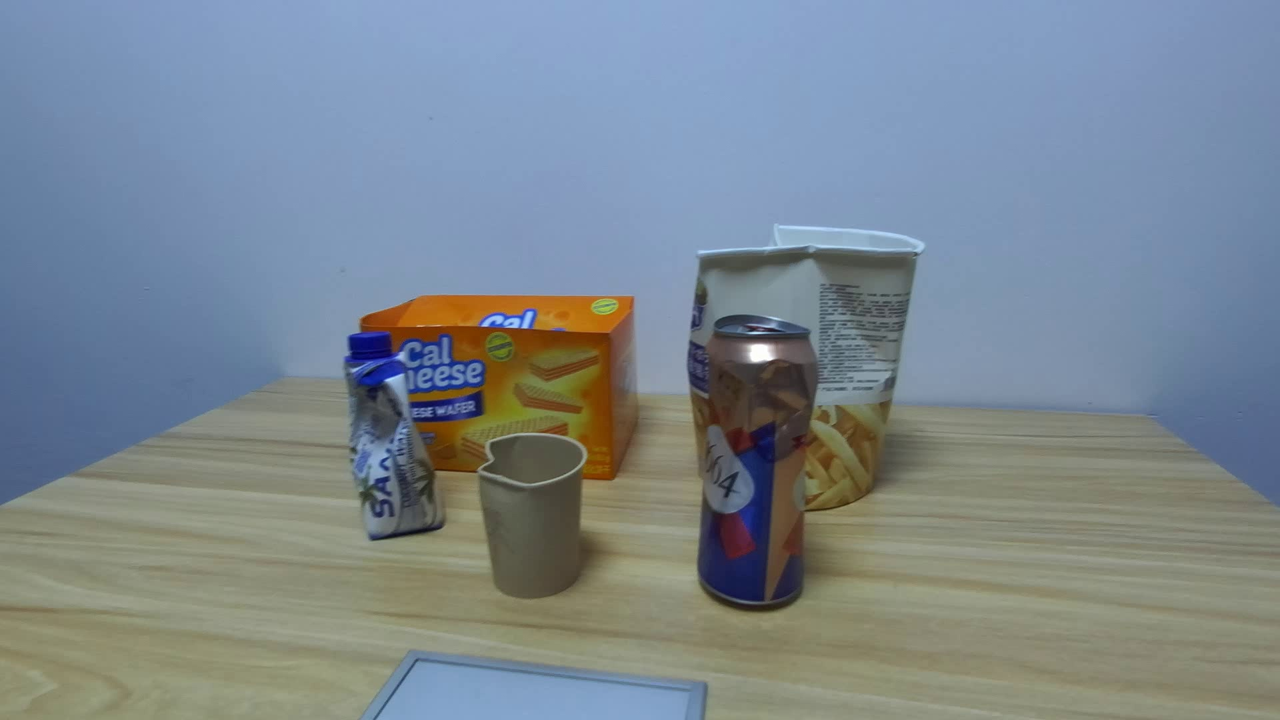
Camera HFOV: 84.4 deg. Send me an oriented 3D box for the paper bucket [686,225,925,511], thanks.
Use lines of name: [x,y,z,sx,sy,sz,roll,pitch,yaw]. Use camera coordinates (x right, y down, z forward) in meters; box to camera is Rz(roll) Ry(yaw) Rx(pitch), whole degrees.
paper bucket: [0.120,-0.002,0.573,0.169,0.202,0.162,2,15,-1]

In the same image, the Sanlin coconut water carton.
Sanlin coconut water carton: [-0.179,0.055,0.494,0.057,0.145,0.068,-14,25,-17]

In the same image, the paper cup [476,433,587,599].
paper cup: [-0.066,0.097,0.441,0.073,0.081,0.069,7,17,27]

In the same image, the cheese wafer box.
cheese wafer box: [-0.123,0.018,0.643,0.230,0.132,0.152,3,18,9]

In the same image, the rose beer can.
rose beer can: [0.069,0.060,0.415,0.065,0.167,0.076,1,13,-1]
